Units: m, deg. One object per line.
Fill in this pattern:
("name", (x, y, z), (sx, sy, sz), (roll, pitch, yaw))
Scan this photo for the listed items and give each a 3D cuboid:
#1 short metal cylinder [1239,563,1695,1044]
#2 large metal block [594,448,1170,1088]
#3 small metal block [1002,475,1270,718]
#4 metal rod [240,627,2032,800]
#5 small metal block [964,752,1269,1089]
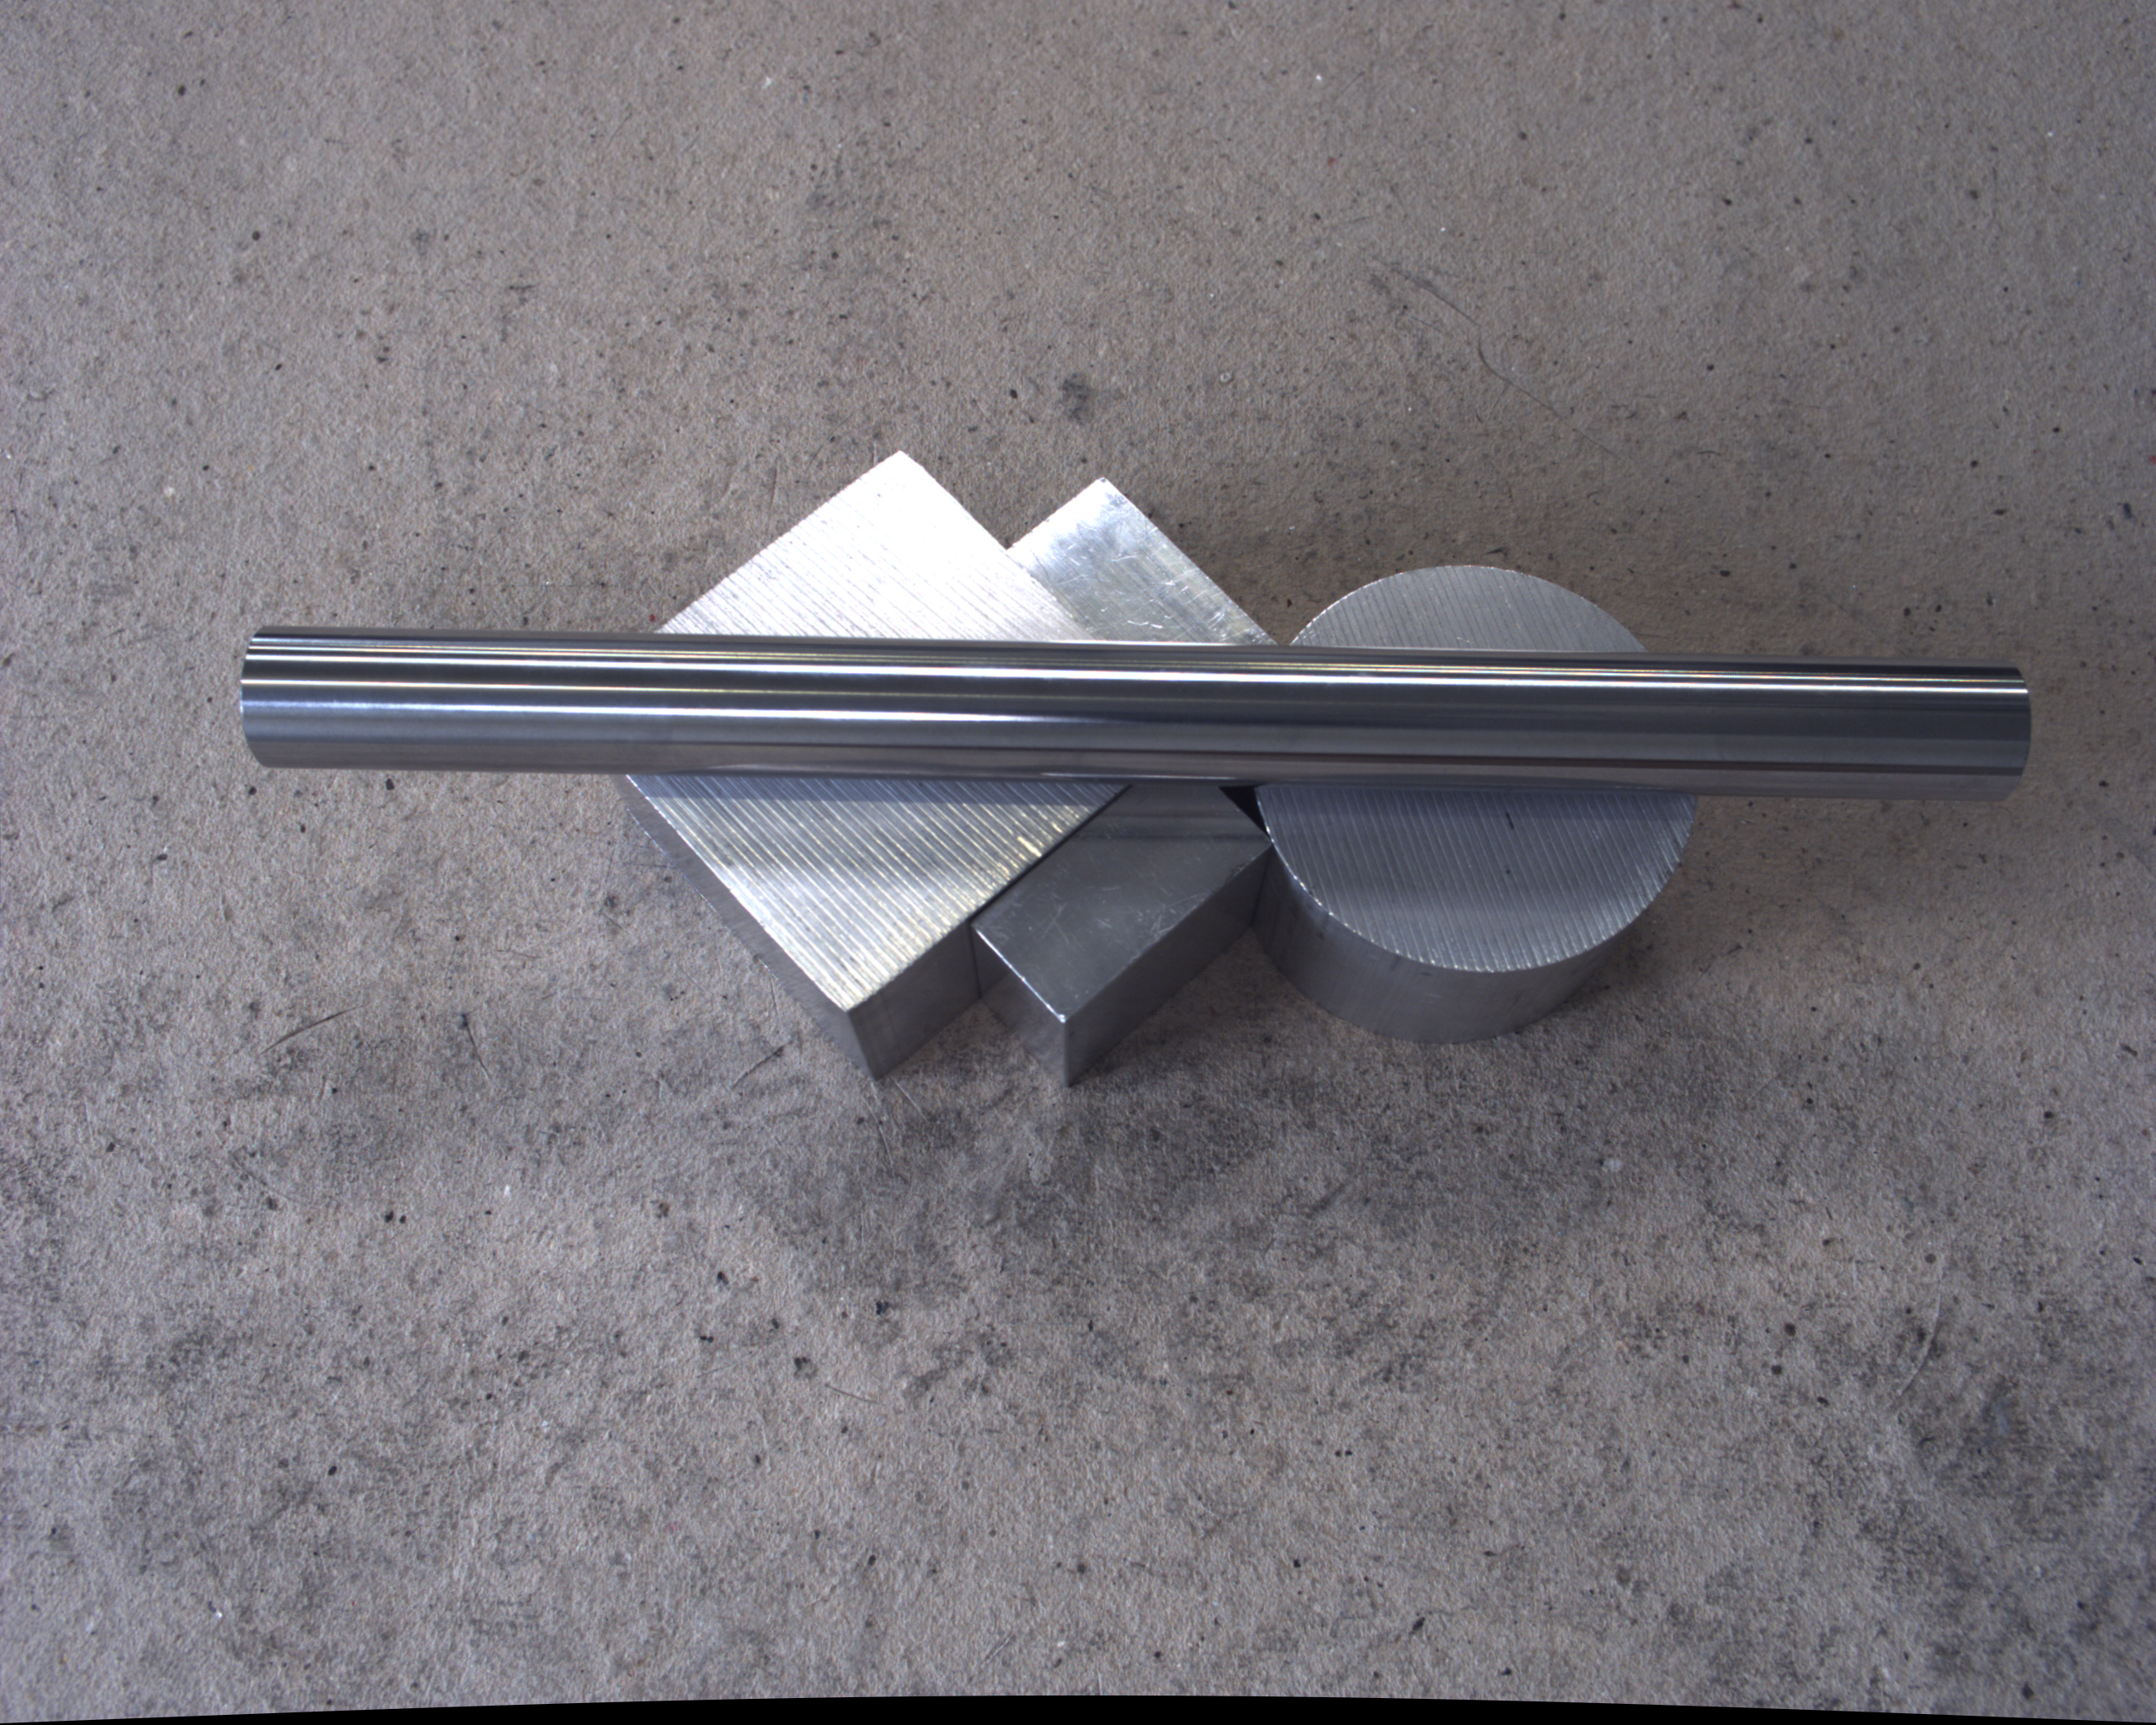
("short metal cylinder", (0.071, -0.010, 0.400), (0.081, 0.050, 0.080), (0, 70, 0))
("large metal block", (-0.037, -0.018, 0.401), (0.080, 0.050, 0.080), (-40, 75, -13))
("small metal block", (0.012, -0.040, 0.411), (0.025, 0.050, 0.050), (-41, 76, -13))
("metal rod", (0.010, -0.026, 0.364), (0.302, 0.025, 0.025), (1, 70, 0))
("small metal block", (0.007, 0.012, 0.393), (0.050, 0.050, 0.025), (-40, 75, -13))
